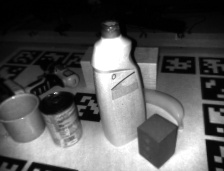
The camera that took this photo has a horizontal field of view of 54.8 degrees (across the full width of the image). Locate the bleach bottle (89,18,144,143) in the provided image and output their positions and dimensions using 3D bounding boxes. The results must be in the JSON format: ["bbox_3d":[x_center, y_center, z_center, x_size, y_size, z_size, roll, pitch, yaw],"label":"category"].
[{"bbox_3d":[0.012,-0.005,0.419,0.067,0.252,0.103,24,47,35],"label":"bleach bottle"}]

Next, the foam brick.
[{"bbox_3d":[0.089,0.096,0.423,0.052,0.078,0.052,-33,42,-31],"label":"foam brick"}]

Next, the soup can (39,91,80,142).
[{"bbox_3d":[-0.108,0.062,0.464,0.068,0.102,0.067,-3,35,3],"label":"soup can"}]

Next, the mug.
[{"bbox_3d":[-0.213,0.072,0.492,0.118,0.082,0.092,-30,45,-22],"label":"mug"}]

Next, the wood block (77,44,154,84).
[{"bbox_3d":[0.017,-0.062,0.625,0.205,0.091,0.090,2,40,11],"label":"wood block"}]

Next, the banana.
[{"bbox_3d":[0.079,0.014,0.554,0.195,0.039,0.074,15,57,22],"label":"banana"}]

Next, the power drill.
[{"bbox_3d":[-0.226,-0.006,0.623,0.182,0.058,0.188,27,48,31],"label":"power drill"}]
